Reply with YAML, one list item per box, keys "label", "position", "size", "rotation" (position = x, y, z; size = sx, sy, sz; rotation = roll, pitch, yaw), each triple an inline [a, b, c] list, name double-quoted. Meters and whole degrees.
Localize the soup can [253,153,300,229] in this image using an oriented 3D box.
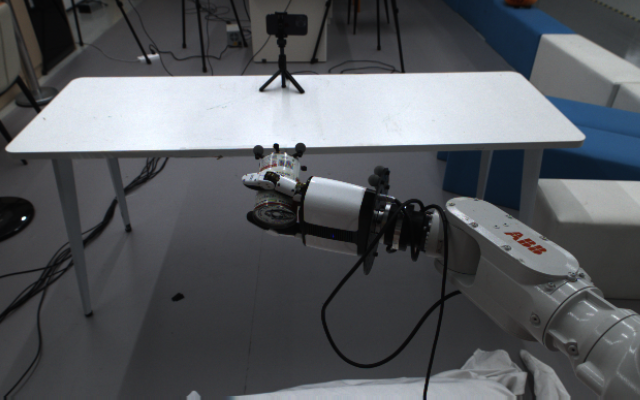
- label: "soup can"
  position: [-0.066, -0.016, 0.749]
  size: [0.067, 0.067, 0.101]
  rotation: [3, 56, 1]
